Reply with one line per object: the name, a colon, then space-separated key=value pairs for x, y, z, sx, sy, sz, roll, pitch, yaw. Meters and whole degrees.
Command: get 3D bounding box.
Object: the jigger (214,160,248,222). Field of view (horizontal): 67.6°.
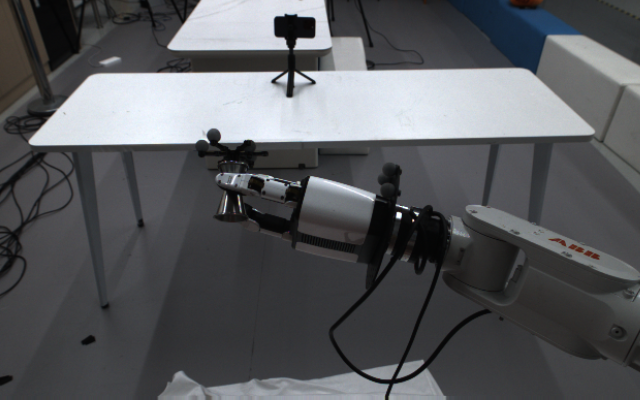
jigger: x=-0.109 y=-0.011 z=0.603 sx=0.043 sy=0.043 sz=0.071 roll=0 pitch=75 yaw=-3
